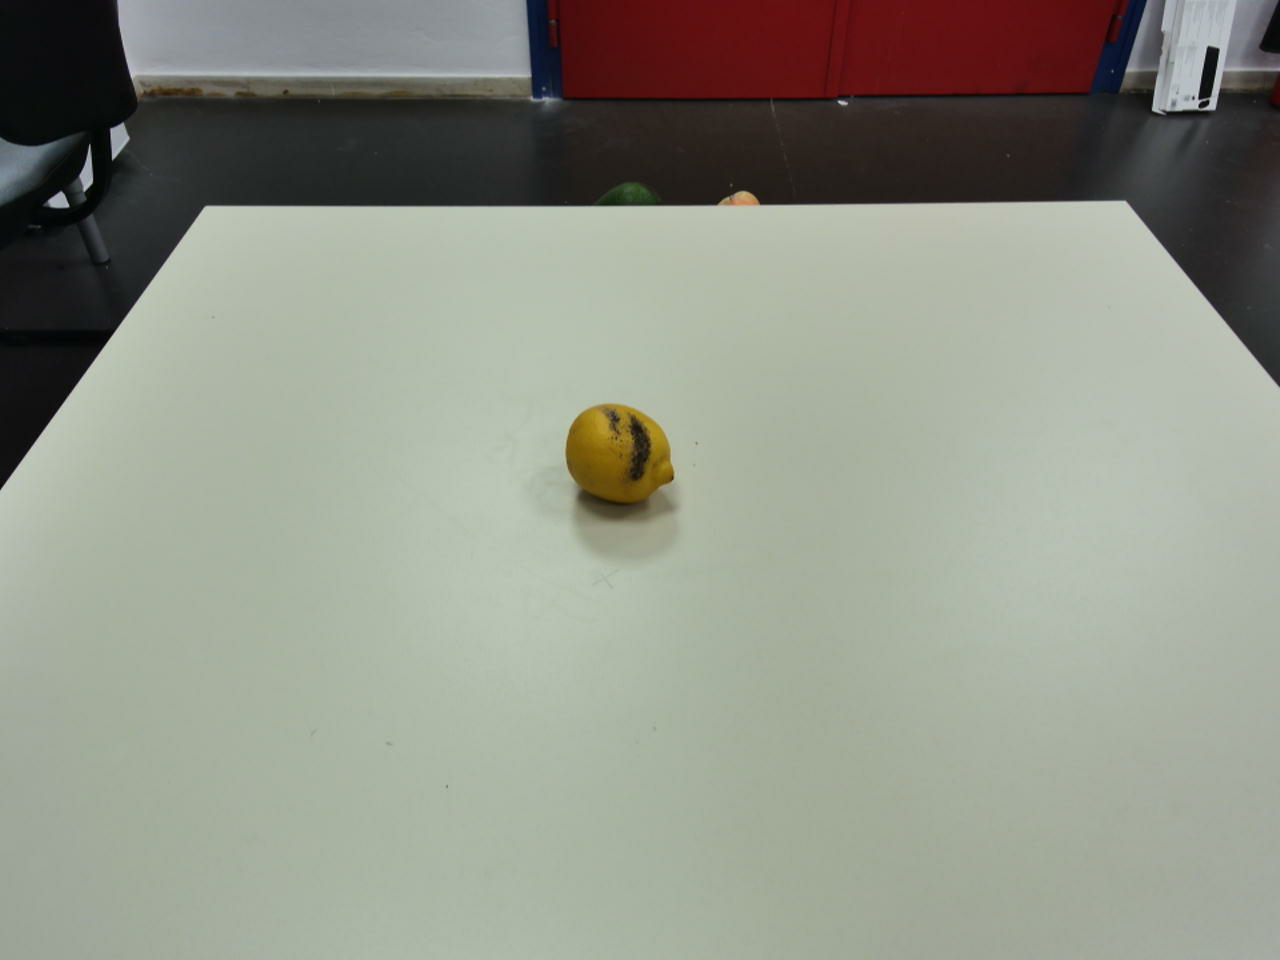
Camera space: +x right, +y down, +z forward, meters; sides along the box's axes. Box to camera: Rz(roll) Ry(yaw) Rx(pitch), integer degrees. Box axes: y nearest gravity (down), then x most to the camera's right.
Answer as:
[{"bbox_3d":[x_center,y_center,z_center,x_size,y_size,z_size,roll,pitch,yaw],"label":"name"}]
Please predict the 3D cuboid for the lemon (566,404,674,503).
[{"bbox_3d":[-0.013,-0.016,0.585,0.061,0.056,0.058,-6,40,-6],"label":"lemon"}]
